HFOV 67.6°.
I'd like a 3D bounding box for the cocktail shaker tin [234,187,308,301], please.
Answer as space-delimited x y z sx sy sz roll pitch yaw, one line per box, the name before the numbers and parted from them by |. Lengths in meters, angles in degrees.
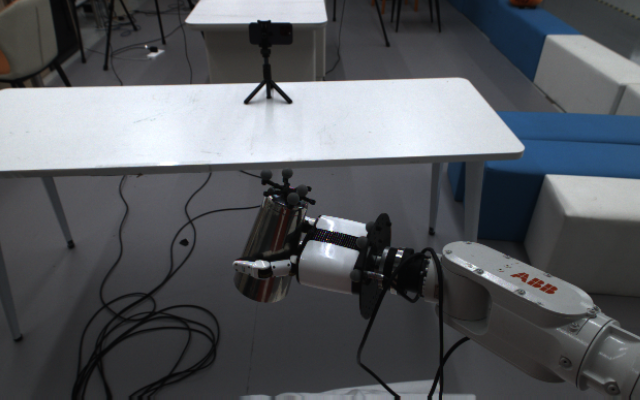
cocktail shaker tin | -0.072 0.062 0.757 0.093 0.170 0.093 15 27 -8
